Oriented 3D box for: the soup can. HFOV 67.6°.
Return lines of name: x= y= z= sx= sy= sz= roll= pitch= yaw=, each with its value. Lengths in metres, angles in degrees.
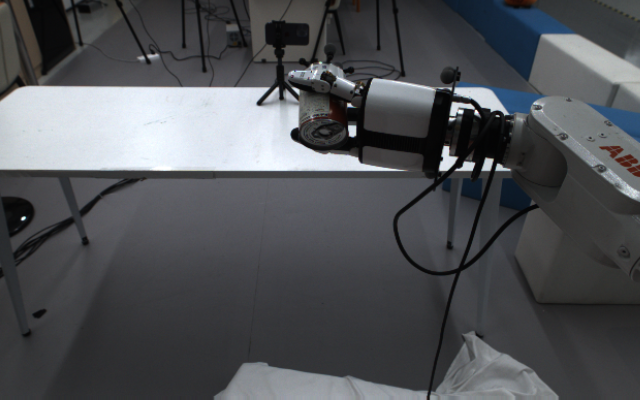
soup can: x=0.004 y=-0.128 z=0.659 sx=0.067 sy=0.067 sz=0.101 roll=1 pitch=61 yaw=-1
